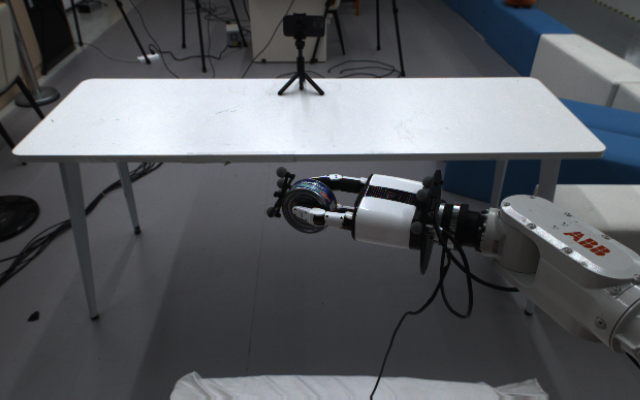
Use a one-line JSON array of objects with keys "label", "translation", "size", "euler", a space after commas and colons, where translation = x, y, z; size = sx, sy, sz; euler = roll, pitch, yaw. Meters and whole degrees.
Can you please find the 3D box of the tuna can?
[{"label": "tuna can", "translation": [-0.015, 0.014, 0.775], "size": [0.085, 0.085, 0.034], "euler": [12, 30, 14]}]
